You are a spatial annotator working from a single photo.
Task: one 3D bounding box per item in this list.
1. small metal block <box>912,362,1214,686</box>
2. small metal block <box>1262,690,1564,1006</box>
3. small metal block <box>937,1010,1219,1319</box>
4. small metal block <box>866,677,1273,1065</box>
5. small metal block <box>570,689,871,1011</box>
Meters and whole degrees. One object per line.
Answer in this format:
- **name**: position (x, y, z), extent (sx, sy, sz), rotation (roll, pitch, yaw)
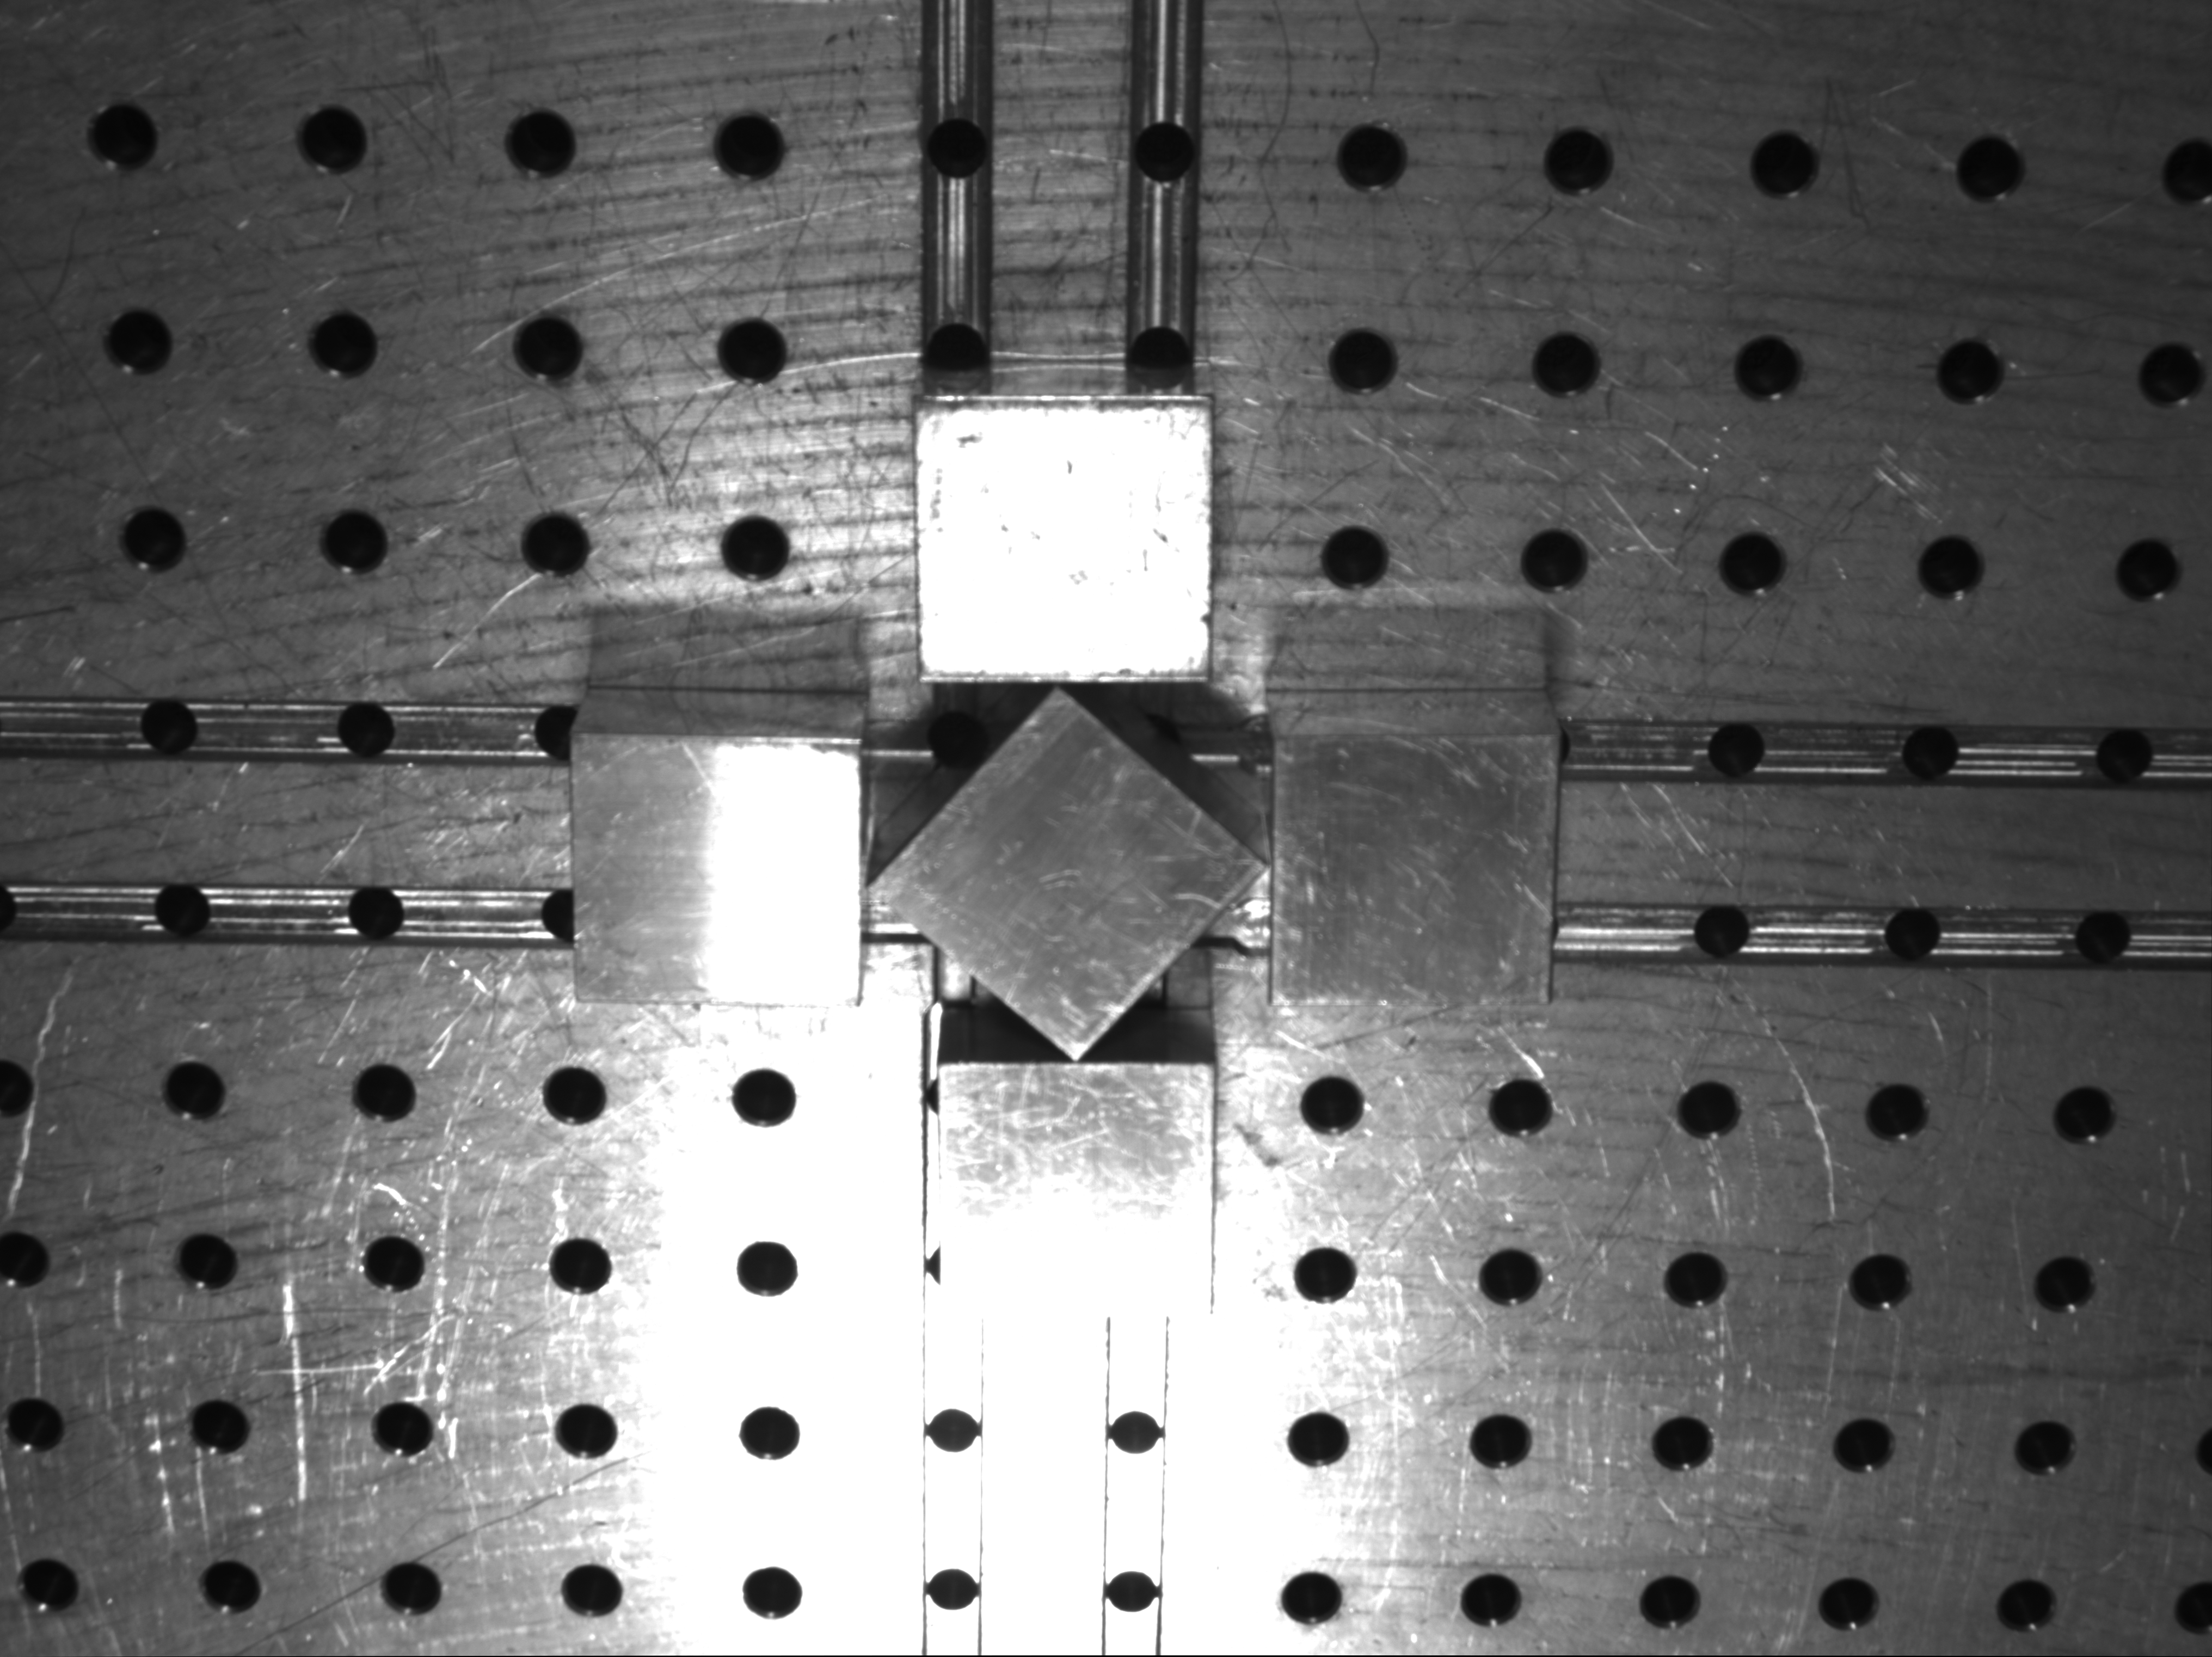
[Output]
- **small metal block**: position (-0.007, -0.052, 0.626), extent (0.050, 0.025, 0.050), rotation (-1, 110, 0)
- **small metal block**: position (0.053, 0.003, 0.647), extent (0.050, 0.025, 0.050), rotation (0, 110, -1)
- **small metal block**: position (-0.005, 0.061, 0.668), extent (0.050, 0.025, 0.050), rotation (0, 110, -1)
- **small metal block**: position (-0.006, 0.004, 0.647), extent (0.050, 0.025, 0.050), rotation (40, 105, -14)
- **small metal block**: position (-0.067, 0.004, 0.646), extent (0.050, 0.025, 0.050), rotation (1, 110, -1)
